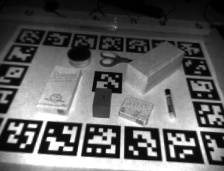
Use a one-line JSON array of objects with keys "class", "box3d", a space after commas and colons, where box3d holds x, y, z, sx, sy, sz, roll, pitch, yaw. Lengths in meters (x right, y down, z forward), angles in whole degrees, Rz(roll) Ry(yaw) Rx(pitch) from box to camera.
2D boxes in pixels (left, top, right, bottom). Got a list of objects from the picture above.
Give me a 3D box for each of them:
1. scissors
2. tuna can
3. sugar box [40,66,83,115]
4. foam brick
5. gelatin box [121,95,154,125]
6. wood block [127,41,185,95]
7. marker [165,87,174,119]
[{"class": "scissors", "box3d": [0.047, -0.102, 0.847, 0.202, 0.016, 0.087, 8, 50, 5]}, {"class": "tuna can", "box3d": [-0.126, -0.114, 0.828, 0.086, 0.034, 0.085, 2, 50, -2]}, {"class": "sugar box", "box3d": [-0.161, 0.011, 0.717, 0.093, 0.045, 0.176, 8, 50, 2]}, {"class": "foam brick", "box3d": [-0.022, 0.053, 0.680, 0.053, 0.051, 0.078, 5, 50, 1]}, {"class": "gelatin box", "box3d": [0.081, 0.076, 0.688, 0.089, 0.030, 0.073, 18, 51, 11]}, {"class": "wood block", "box3d": [0.162, -0.069, 0.783, 0.208, 0.091, 0.089, -34, 59, -29]}, {"class": "marker", "box3d": [0.192, 0.055, 0.720, 0.019, 0.020, 0.120, 5, 52, 1]}]
